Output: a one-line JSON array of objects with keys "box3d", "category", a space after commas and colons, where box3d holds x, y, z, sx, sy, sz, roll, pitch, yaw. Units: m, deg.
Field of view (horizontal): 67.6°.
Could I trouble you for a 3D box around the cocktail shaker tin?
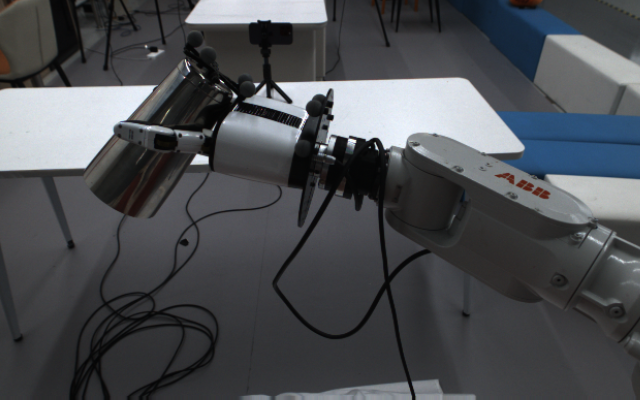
[{"box3d": [-0.174, -0.074, 0.544, 0.093, 0.170, 0.093, 41, 12, -11], "category": "cocktail shaker tin"}]
